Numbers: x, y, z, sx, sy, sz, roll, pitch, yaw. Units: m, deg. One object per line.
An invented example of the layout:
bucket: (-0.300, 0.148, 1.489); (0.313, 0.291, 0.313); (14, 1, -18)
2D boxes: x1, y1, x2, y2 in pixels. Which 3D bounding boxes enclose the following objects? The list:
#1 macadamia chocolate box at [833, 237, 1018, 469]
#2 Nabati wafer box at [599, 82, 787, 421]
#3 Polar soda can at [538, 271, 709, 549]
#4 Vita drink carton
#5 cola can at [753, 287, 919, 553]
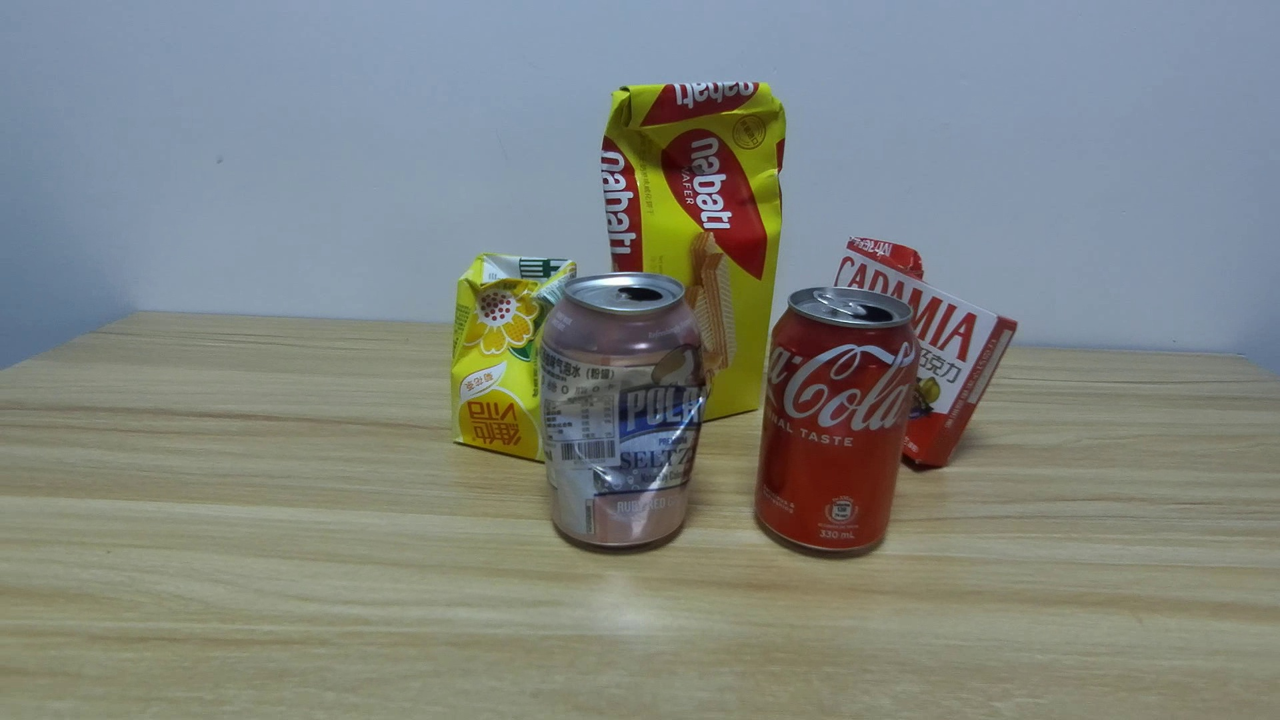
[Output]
macadamia chocolate box: (0.162, -0.009, 0.442); (0.056, 0.112, 0.126); (-4, 22, -19)
Nabati wafer box: (0.034, -0.058, 0.429); (0.114, 0.205, 0.042); (-10, 20, -25)
Polar soda can: (-0.008, 0.027, 0.338); (0.074, 0.122, 0.067); (5, 16, 18)
Vita drink carton: (-0.074, -0.002, 0.410); (0.071, 0.109, 0.046); (9, 22, 18)
cola can: (0.092, 0.030, 0.340); (0.068, 0.120, 0.068); (4, 17, -1)
